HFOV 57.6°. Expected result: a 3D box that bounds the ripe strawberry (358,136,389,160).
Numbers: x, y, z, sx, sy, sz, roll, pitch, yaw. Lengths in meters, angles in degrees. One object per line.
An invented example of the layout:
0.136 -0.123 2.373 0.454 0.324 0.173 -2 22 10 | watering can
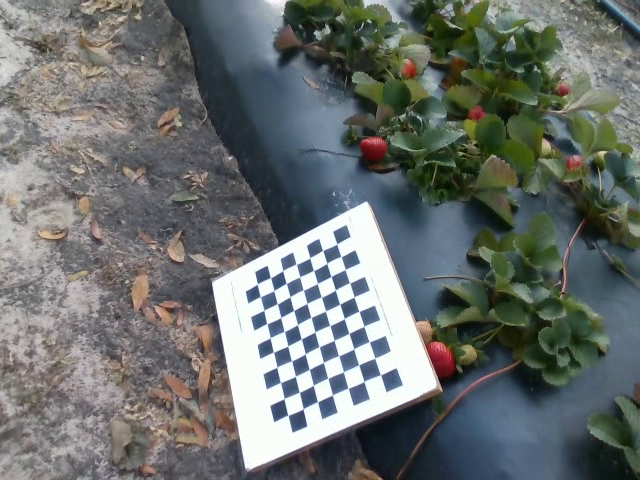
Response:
0.089 -0.165 1.010 0.053 0.050 0.049 14 -50 -47 | ripe strawberry
